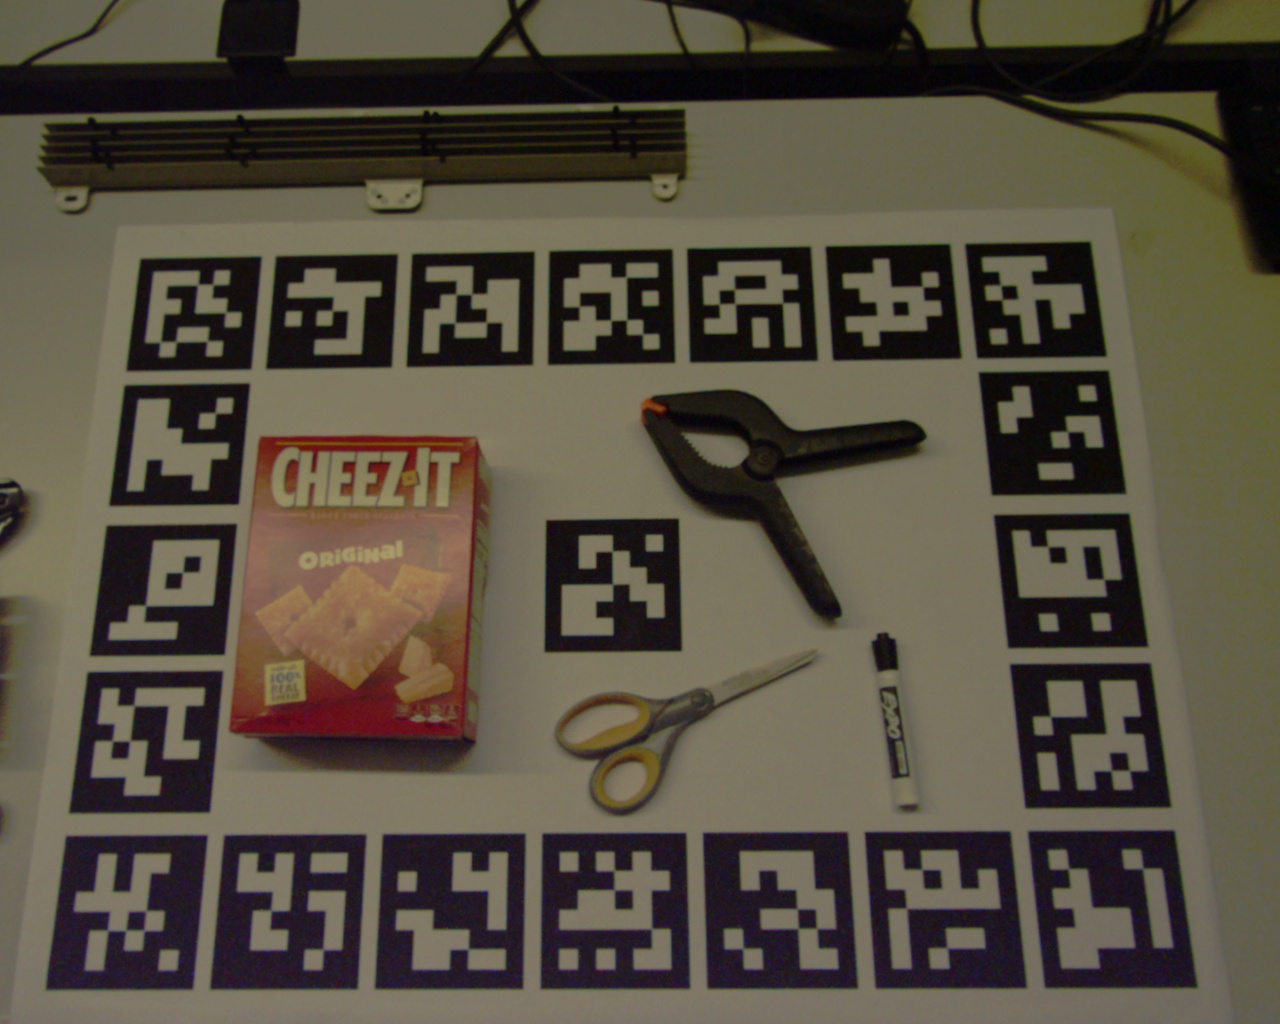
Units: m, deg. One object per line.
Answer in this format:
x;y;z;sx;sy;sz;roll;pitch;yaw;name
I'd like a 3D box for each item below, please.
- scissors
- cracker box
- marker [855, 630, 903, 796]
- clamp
0.033;0.146;0.848;0.202;0.016;0.088;-29;73;-9;scissors
-0.201;0.067;0.854;0.164;0.072;0.214;0;73;2;cracker box
0.176;0.147;0.842;0.019;0.019;0.121;-5;72;0;marker
0.079;-0.033;0.907;0.204;0.036;0.165;28;74;9;clamp
